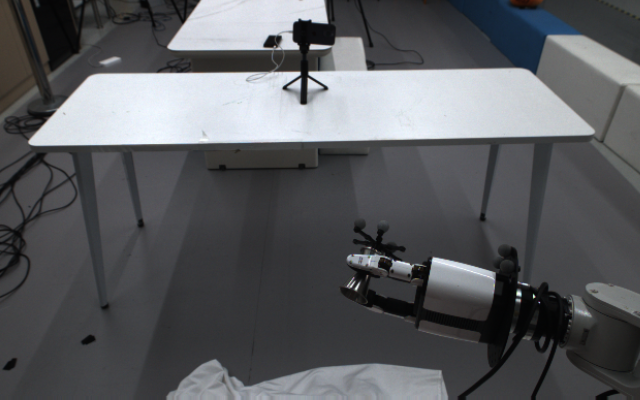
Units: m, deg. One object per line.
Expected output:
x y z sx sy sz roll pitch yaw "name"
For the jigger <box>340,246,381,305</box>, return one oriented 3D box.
0.059 0.100 0.672 0.043 0.043 0.071 20 61 23 "jigger"
